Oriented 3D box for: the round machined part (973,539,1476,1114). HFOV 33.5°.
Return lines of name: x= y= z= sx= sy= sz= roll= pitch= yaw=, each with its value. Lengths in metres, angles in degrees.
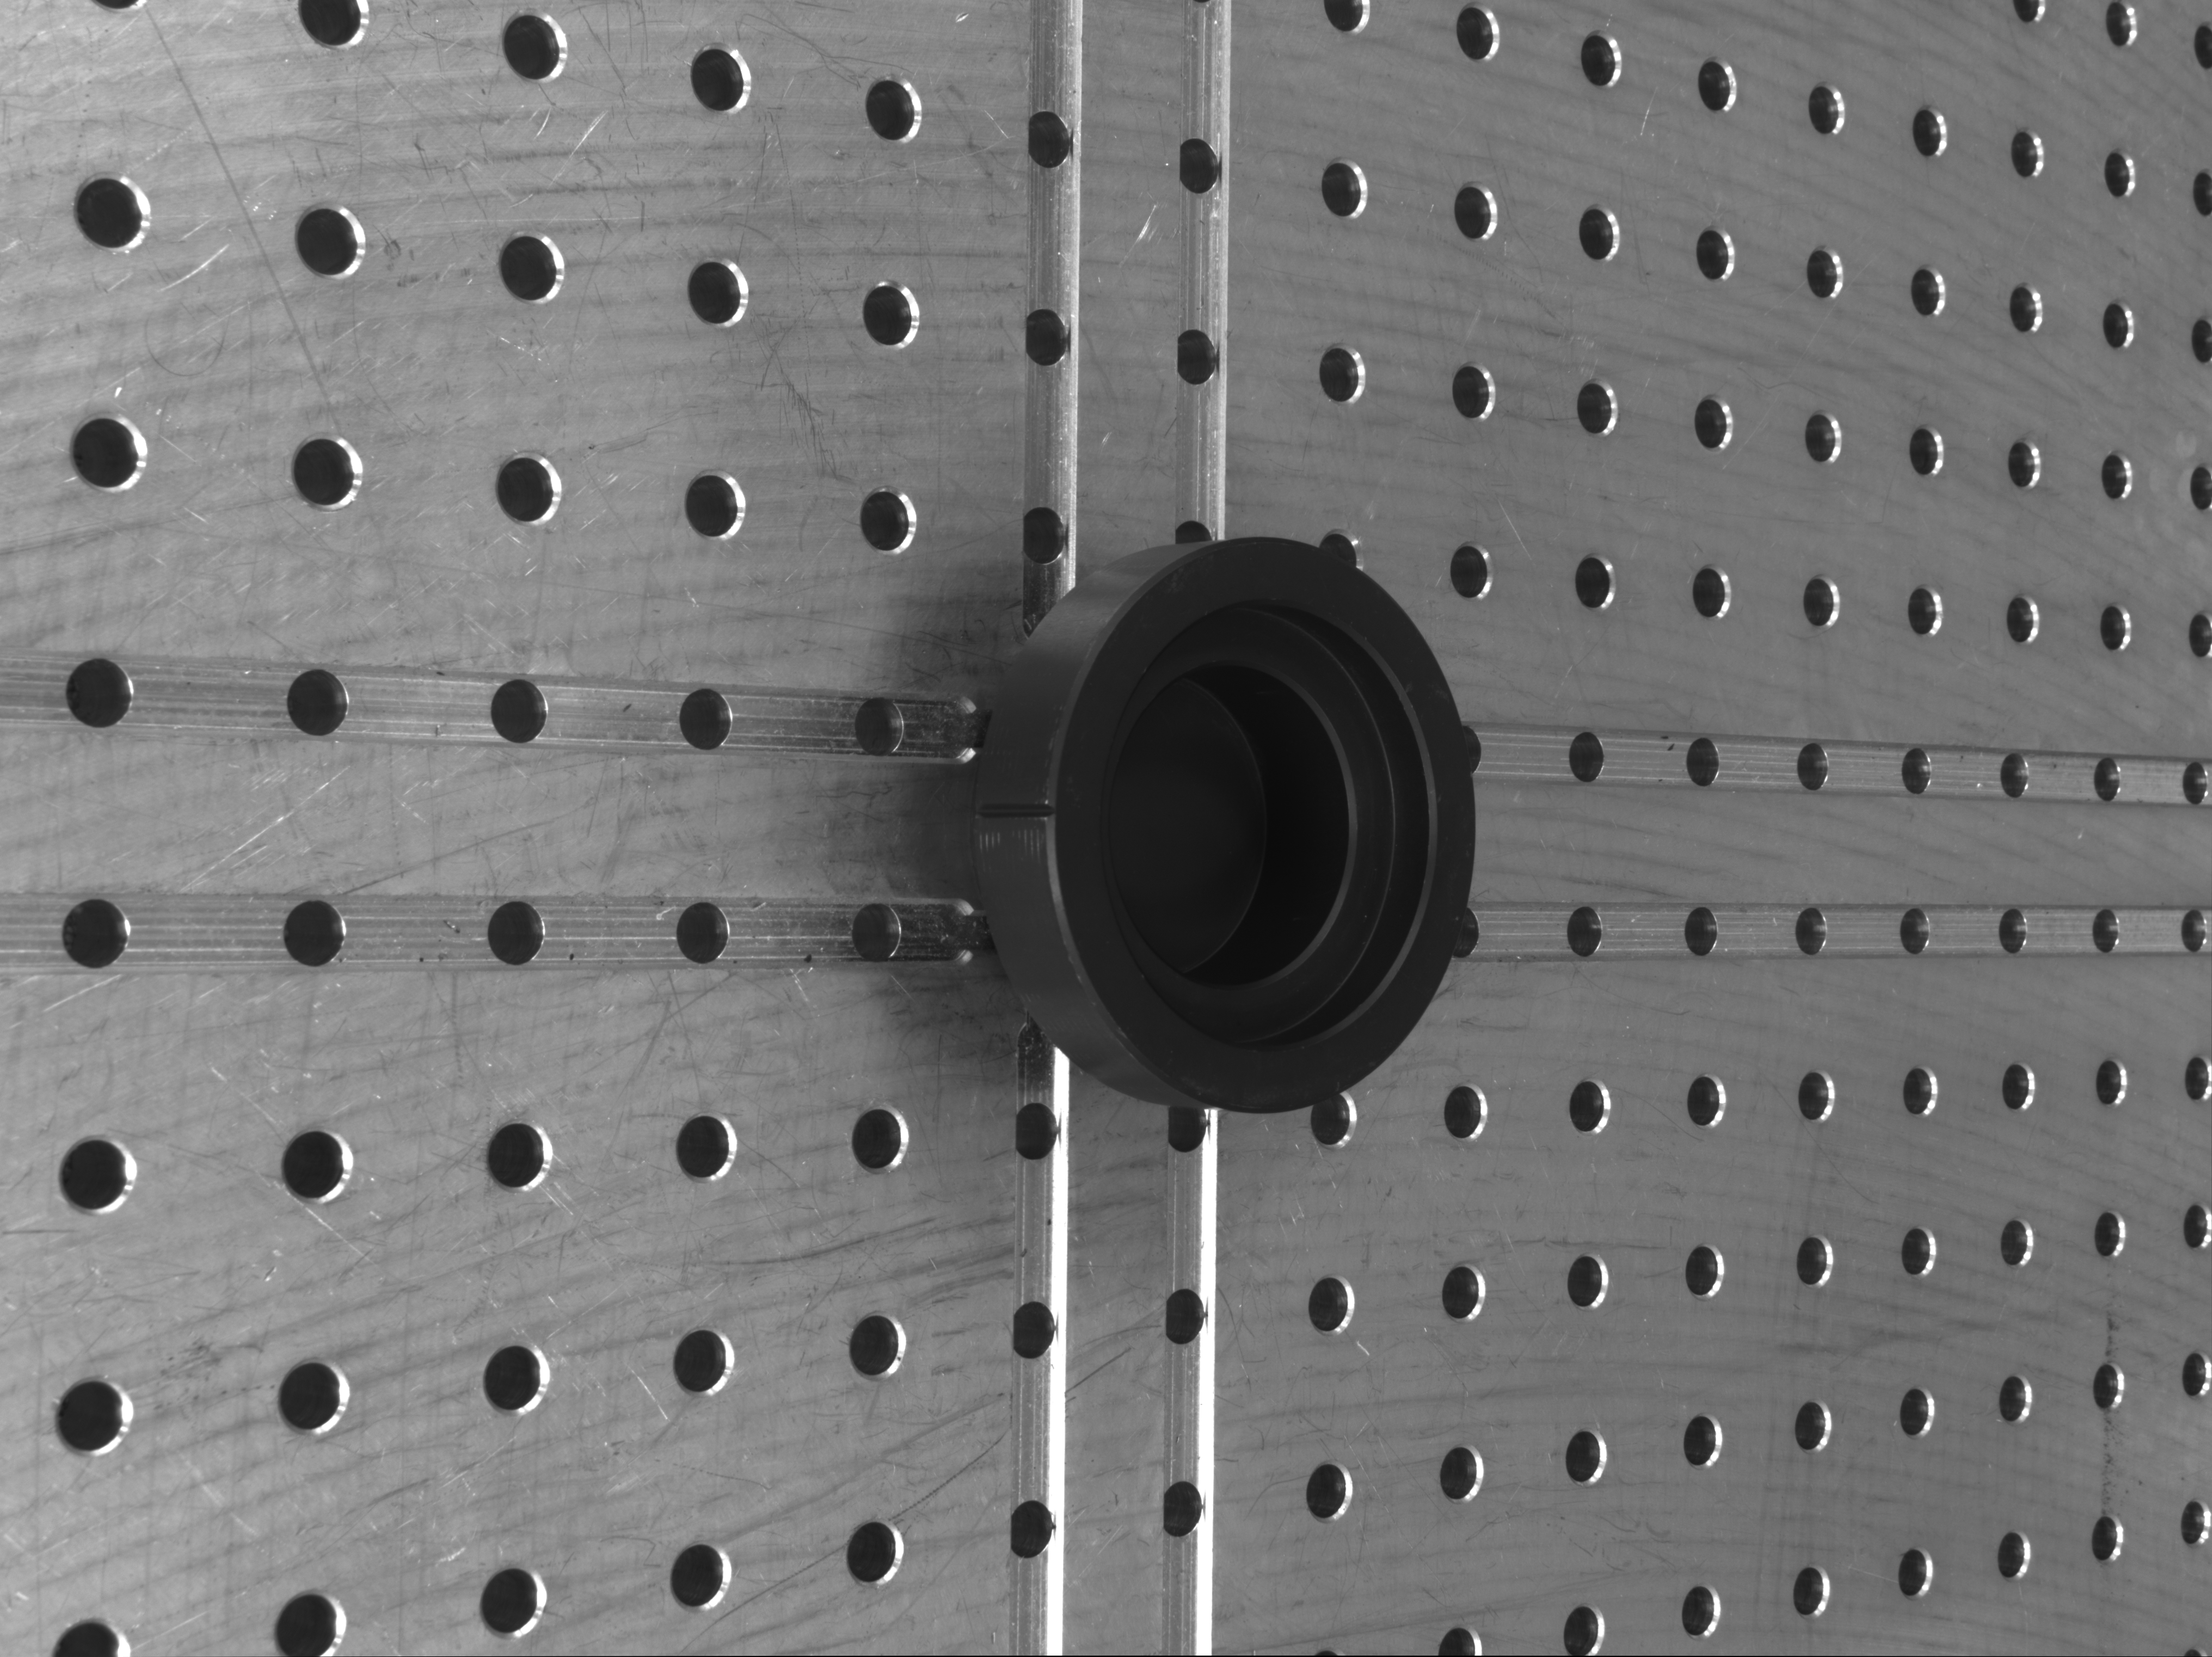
round machined part: x=0.016 y=0.000 z=0.640 sx=0.098 sy=0.042 sz=0.098 roll=0 pitch=90 yaw=-40
